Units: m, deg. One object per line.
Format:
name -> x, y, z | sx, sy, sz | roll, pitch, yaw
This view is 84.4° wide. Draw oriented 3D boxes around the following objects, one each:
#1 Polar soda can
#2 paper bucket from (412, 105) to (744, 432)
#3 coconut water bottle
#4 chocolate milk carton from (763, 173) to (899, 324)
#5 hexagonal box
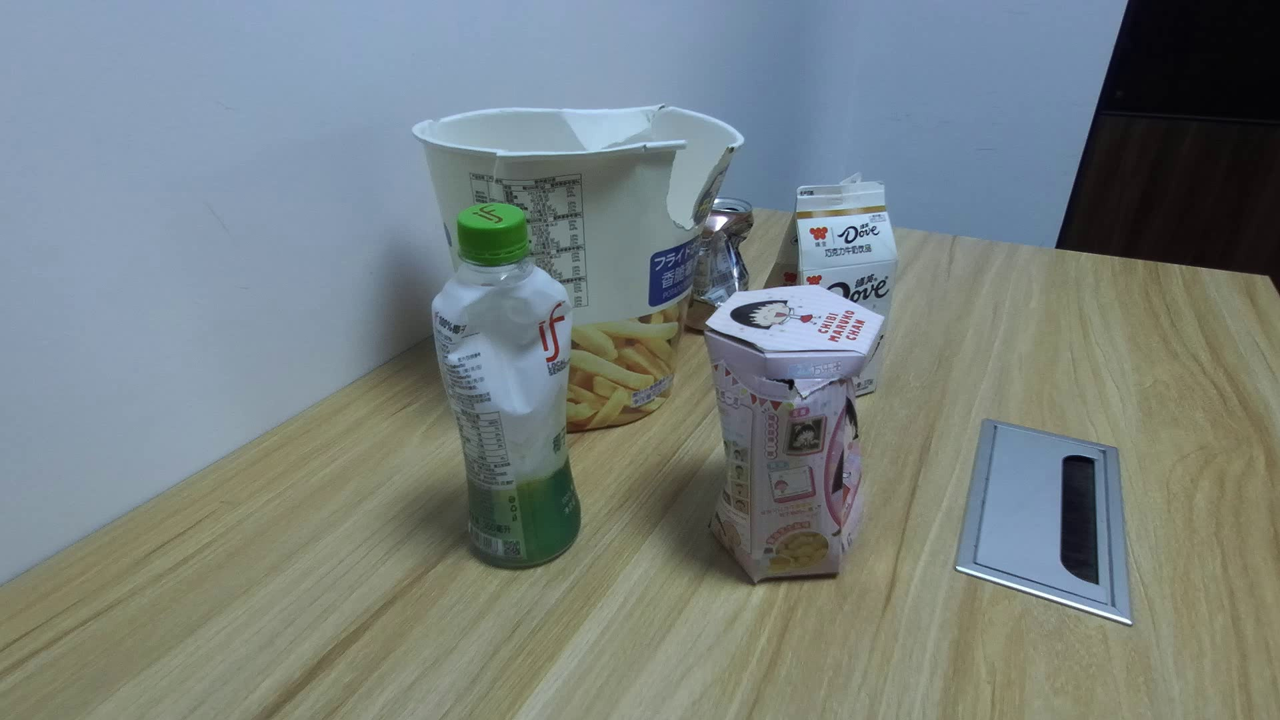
Polar soda can -> 0.065, -0.084, 0.616 | 0.070, 0.114, 0.074 | -2, 31, -16
paper bucket -> -0.043, -0.069, 0.501 | 0.203, 0.197, 0.145 | -6, 30, -8
coconut water bottle -> -0.066, 0.015, 0.362 | 0.069, 0.187, 0.069 | 1, 27, 0
chocolate milk carton -> 0.128, -0.051, 0.508 | 0.084, 0.155, 0.072 | -14, 33, -21
hexagonal box -> 0.076, 0.039, 0.373 | 0.091, 0.134, 0.090 | -13, 29, -18
